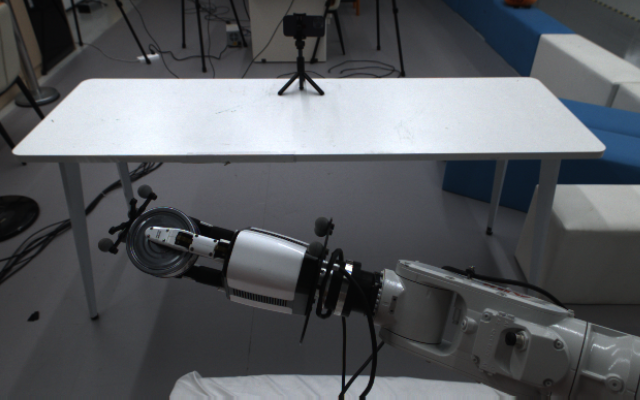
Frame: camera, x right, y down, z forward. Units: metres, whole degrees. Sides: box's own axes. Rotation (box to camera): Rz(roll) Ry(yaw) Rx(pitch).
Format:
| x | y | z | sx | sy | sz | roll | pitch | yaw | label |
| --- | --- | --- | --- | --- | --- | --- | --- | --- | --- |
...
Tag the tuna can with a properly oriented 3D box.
| x | y | z | sx | sy | sz | roll | pitch | yaw | label |
| --- | --- | --- | --- | --- | --- | --- | --- | --- | --- |
| -0.189 | 0.057 | 0.595 | 0.085 | 0.034 | 0.085 | 1 | 77 | -5 | tuna can |
